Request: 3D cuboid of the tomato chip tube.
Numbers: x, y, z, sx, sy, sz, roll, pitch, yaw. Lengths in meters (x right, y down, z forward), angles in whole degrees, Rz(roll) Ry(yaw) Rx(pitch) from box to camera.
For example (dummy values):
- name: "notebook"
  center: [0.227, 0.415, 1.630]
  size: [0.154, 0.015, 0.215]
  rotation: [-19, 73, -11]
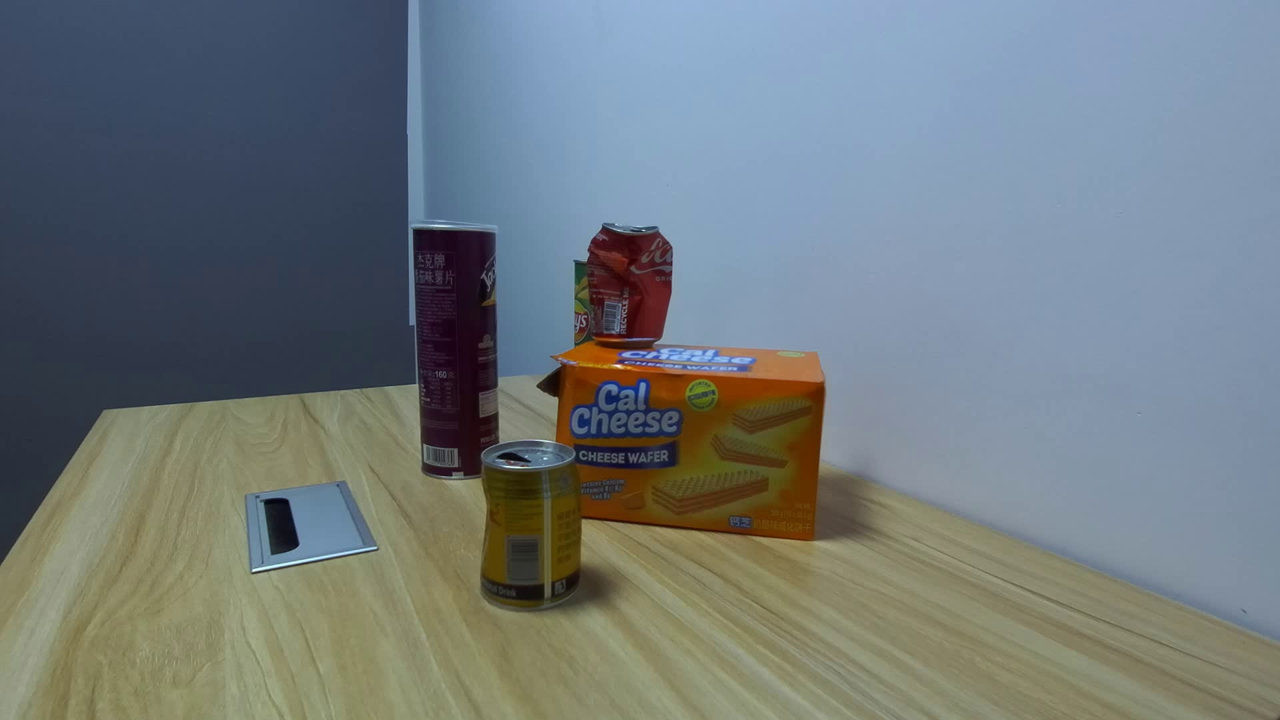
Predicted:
- name: "tomato chip tube"
  center: [-0.177, -0.009, 0.682]
  size: [0.078, 0.233, 0.078]
  rotation: [1, 8, 0]

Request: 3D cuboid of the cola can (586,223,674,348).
- name: "cola can"
  center: [-0.012, -0.069, 0.651]
  size: [0.069, 0.112, 0.066]
  rotation: [9, 14, 32]

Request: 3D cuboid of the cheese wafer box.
- name: "cheese wafer box"
  center: [0.043, 0.057, 0.619]
  size: [0.227, 0.137, 0.150]
  rotation: [3, 10, 11]

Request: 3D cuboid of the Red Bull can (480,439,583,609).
- name: "Red Bull can"
  center: [-0.072, 0.105, 0.459]
  size: [0.069, 0.092, 0.069]
  rotation: [2, 10, 0]
